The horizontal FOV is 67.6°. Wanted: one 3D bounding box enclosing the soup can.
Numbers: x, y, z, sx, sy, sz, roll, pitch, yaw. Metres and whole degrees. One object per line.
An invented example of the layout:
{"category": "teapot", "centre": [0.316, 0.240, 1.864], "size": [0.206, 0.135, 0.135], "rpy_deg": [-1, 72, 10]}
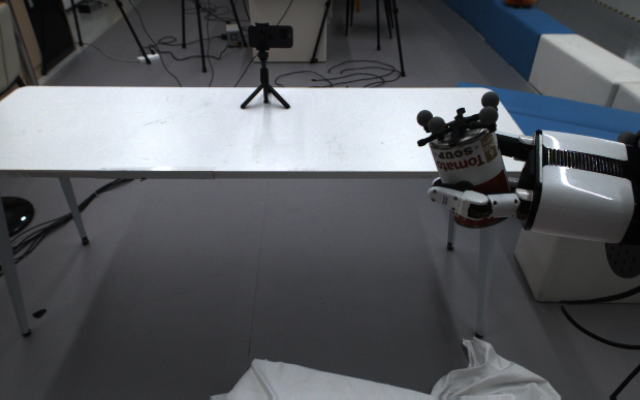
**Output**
{"category": "soup can", "centre": [0.166, -0.031, 0.521], "size": [0.067, 0.101, 0.067], "rpy_deg": [-22, 24, 10]}
